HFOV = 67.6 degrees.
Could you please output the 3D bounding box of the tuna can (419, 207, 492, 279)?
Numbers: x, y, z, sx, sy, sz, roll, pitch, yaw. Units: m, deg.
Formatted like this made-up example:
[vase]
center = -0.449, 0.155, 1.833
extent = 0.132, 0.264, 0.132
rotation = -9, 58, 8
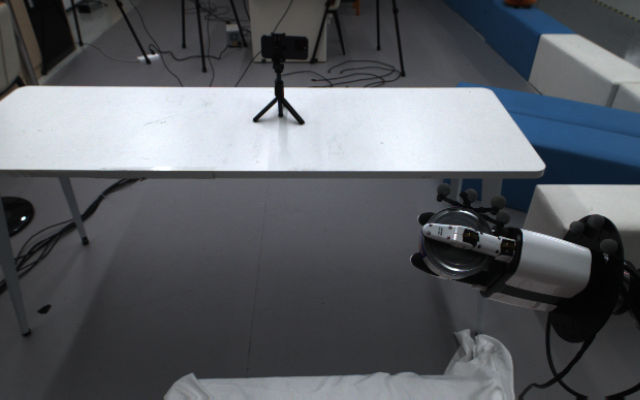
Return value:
[tuna can]
center = 0.169, 0.051, 0.595
extent = 0.085, 0.034, 0.085
rotation = 0, 72, 0
